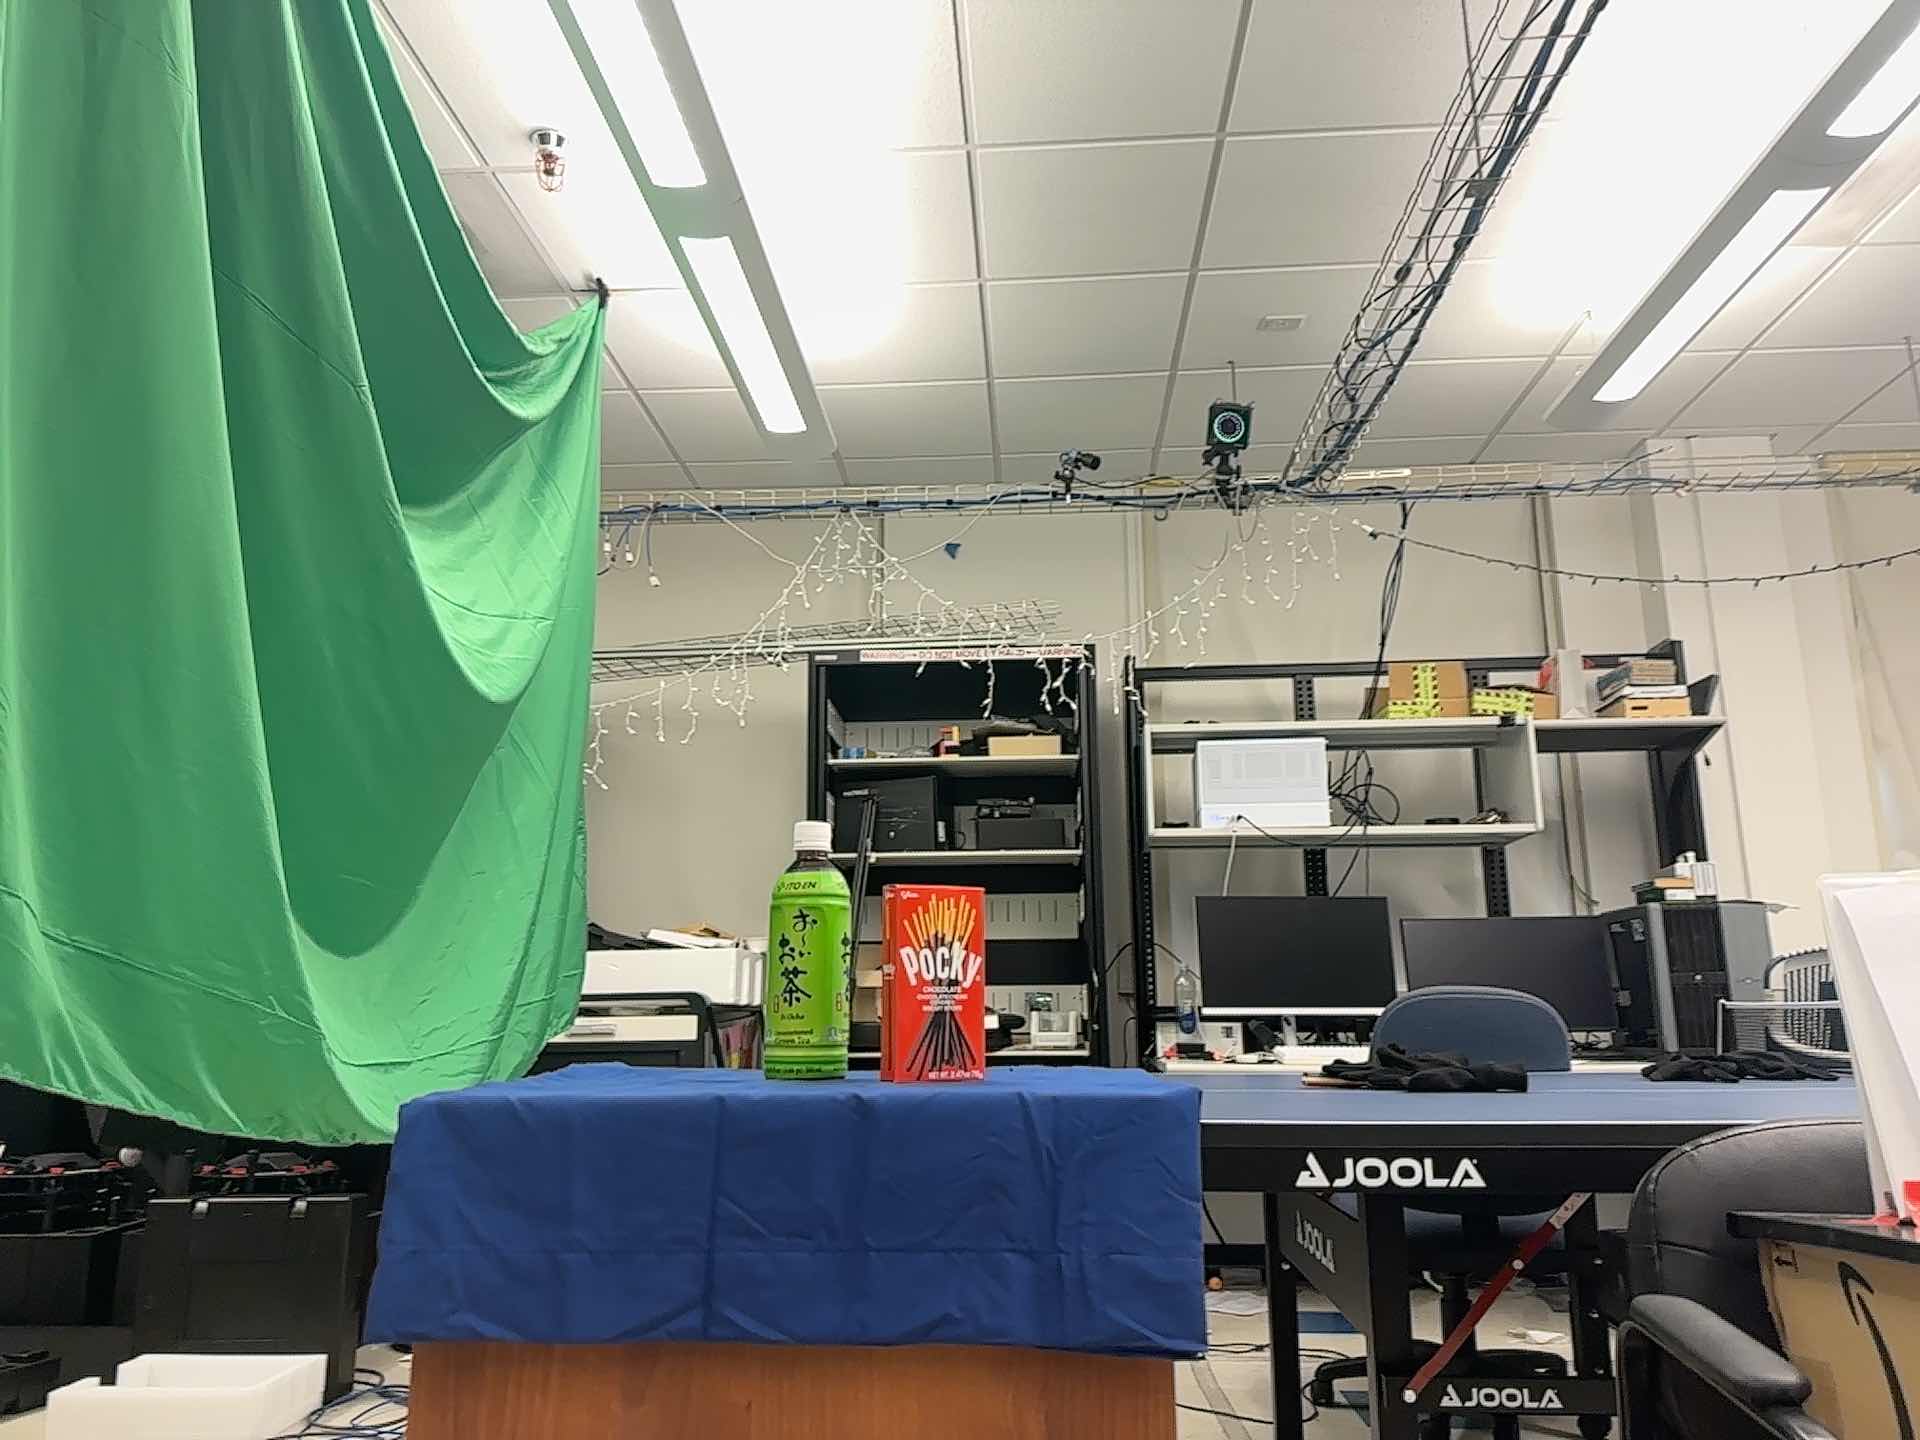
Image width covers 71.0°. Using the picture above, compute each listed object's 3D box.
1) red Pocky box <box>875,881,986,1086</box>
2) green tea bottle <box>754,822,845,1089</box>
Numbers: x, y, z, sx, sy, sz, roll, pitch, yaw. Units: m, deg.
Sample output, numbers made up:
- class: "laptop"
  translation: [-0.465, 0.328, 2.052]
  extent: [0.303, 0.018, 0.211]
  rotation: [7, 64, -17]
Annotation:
- class: "red Pocky box"
  translation: [-0.022, 0.203, 1.043]
  extent: [0.083, 0.155, 0.028]
  rotation: [5, -11, -25]
- class: "green tea bottle"
  translation: [-0.130, 0.189, 1.094]
  extent: [0.073, 0.212, 0.073]
  rotation: [-1, -12, 0]
